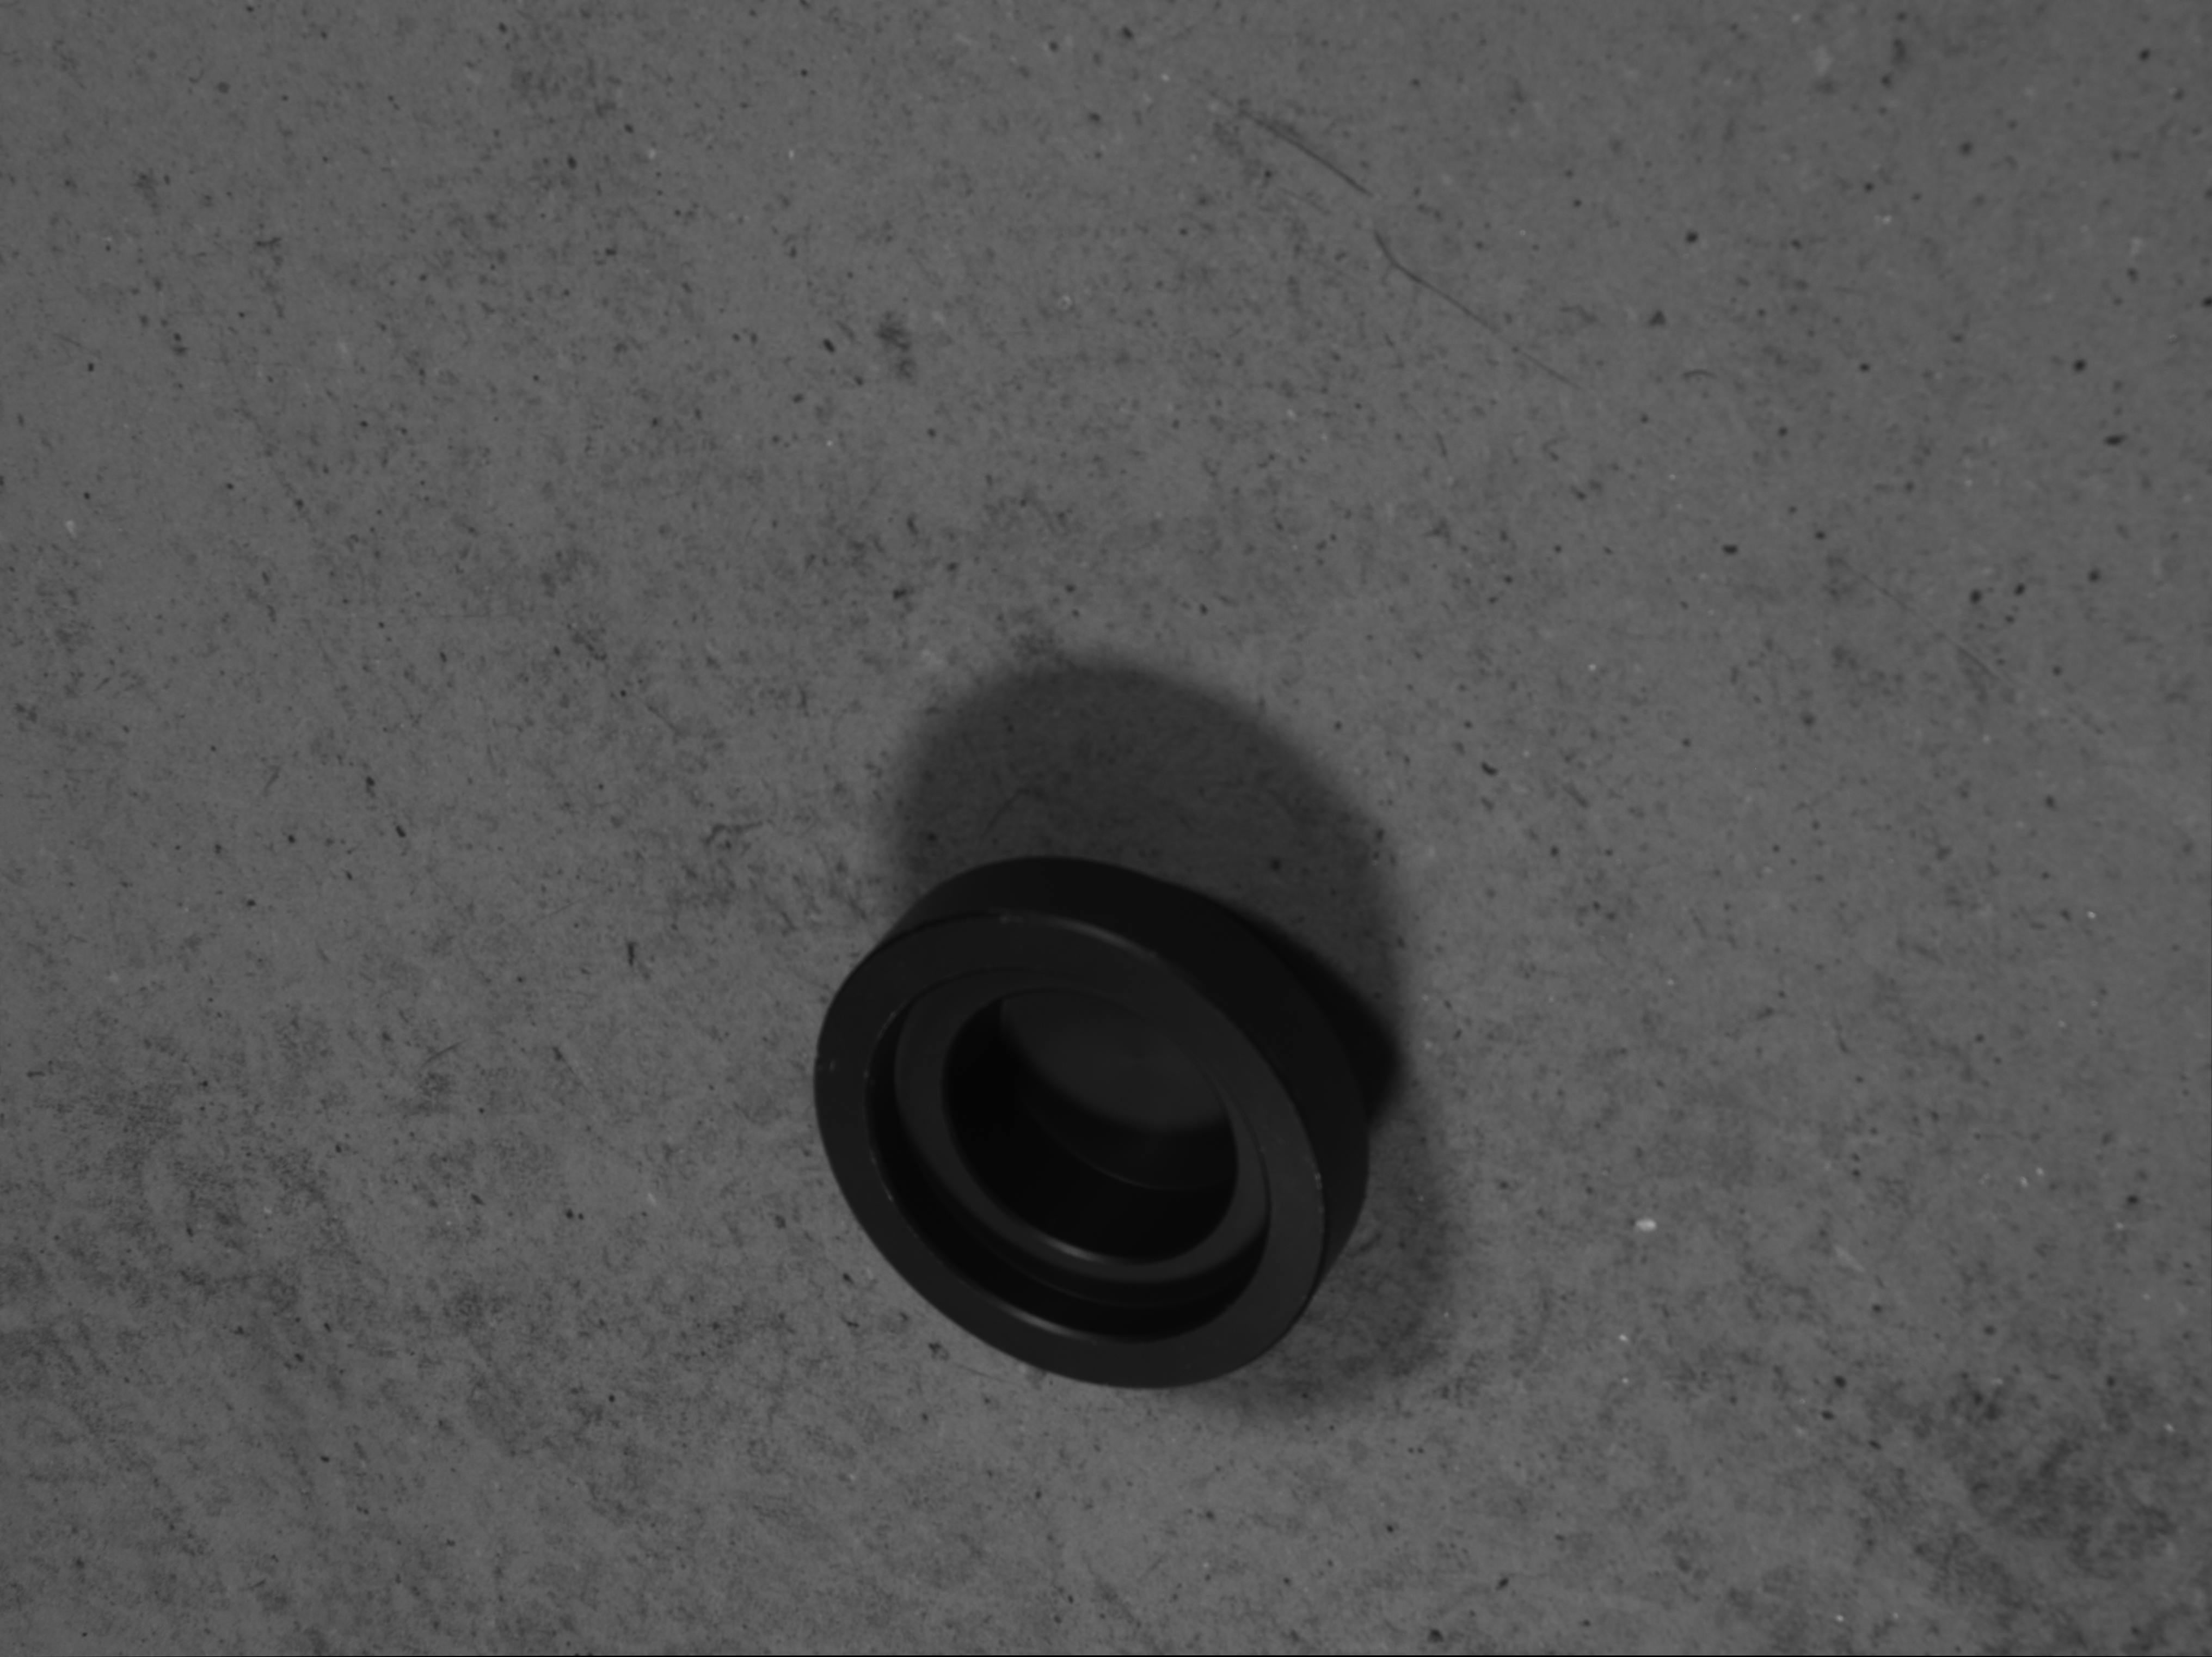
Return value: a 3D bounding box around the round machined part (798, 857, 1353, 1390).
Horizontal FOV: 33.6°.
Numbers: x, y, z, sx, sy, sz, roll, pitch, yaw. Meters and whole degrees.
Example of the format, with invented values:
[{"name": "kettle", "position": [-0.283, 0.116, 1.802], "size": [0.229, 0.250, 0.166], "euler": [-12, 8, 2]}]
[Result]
[{"name": "round machined part", "position": [-0.002, 0.048, 0.650], "size": [0.098, 0.042, 0.098], "euler": [12, 123, 20]}]
